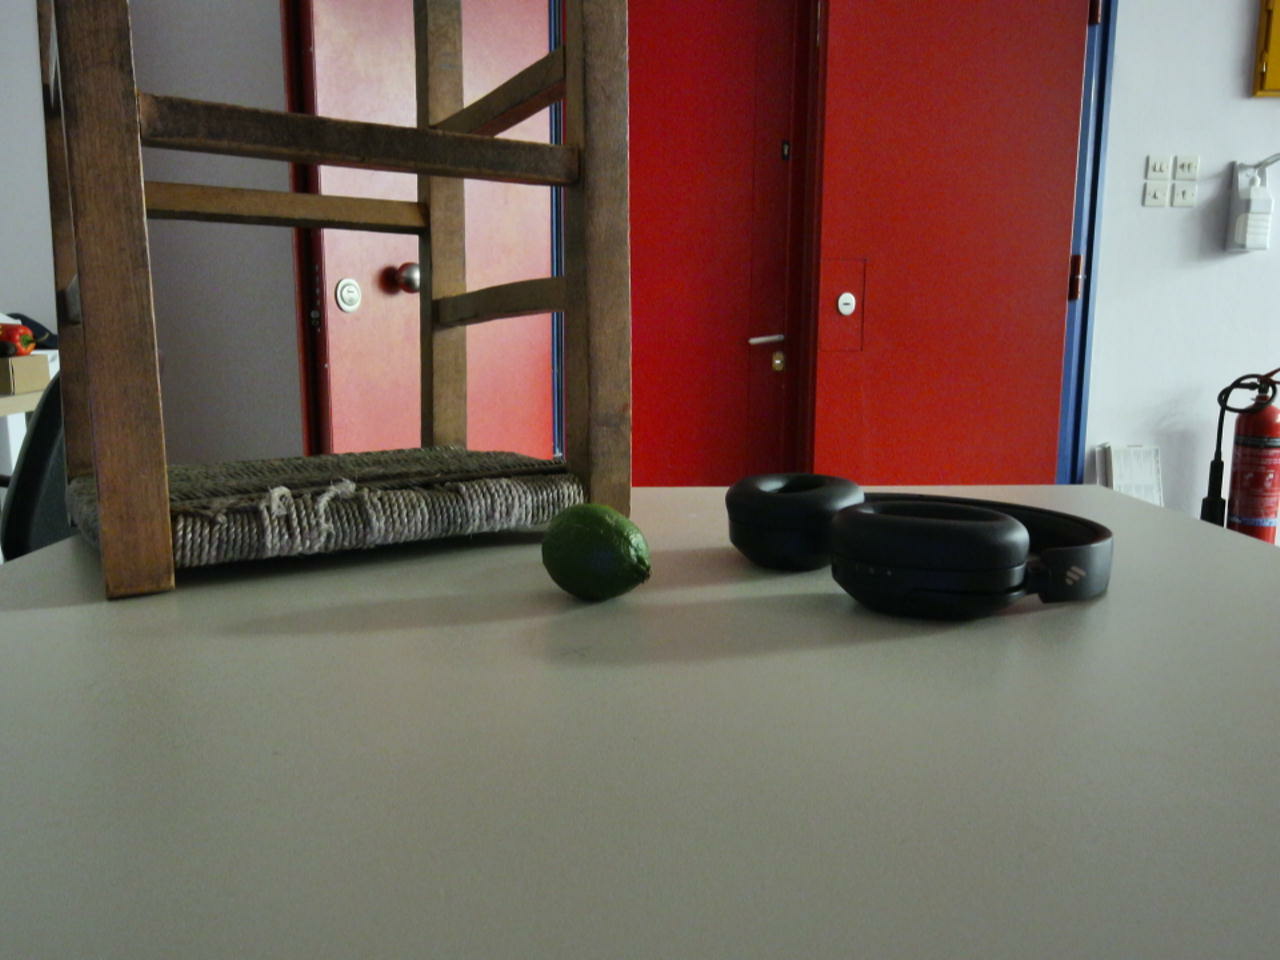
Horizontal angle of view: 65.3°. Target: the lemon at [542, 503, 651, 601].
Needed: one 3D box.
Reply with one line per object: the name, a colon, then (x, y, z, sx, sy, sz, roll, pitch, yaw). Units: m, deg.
lemon: (-0.024, 0.038, 0.537, 0.057, 0.051, 0.054, -1, 7, -4)
